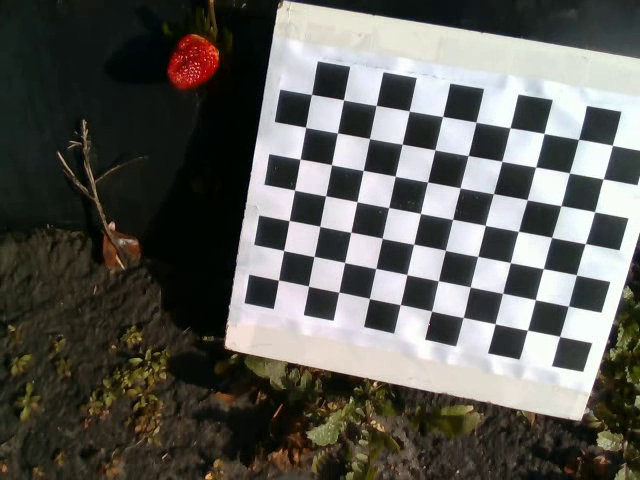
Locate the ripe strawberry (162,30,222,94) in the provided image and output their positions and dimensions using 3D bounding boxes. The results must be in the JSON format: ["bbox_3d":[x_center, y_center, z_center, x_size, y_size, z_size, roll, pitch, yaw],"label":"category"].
[{"bbox_3d":[-0.035,-0.048,0.154,0.015,0.023,0.015,19,-41,1],"label":"ripe strawberry"}]
